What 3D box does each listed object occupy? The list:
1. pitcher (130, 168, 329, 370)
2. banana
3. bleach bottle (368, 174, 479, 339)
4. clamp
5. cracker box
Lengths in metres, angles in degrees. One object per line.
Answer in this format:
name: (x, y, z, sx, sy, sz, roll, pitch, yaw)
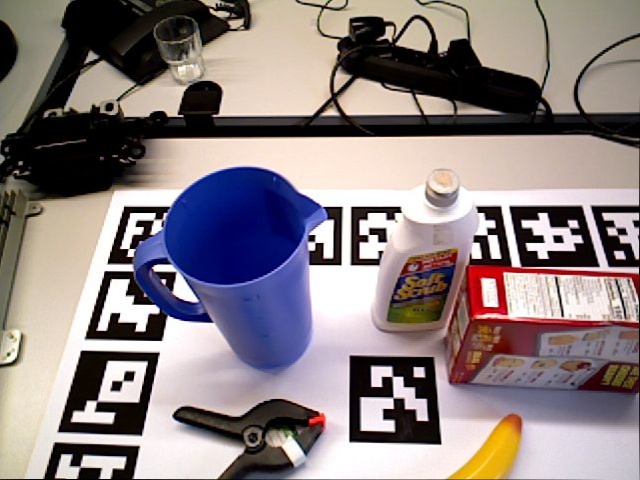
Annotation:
pitcher: (-0.081, 0.042, 0.563, 0.187, 0.247, 0.132, -14, 54, -10)
banana: (0.148, 0.248, 0.567, 0.194, 0.039, 0.074, -28, 57, -15)
bleach bottle: (0.107, 0.022, 0.588, 0.102, 0.255, 0.067, 0, 53, 3)
clamp: (-0.071, 0.223, 0.590, 0.164, 0.037, 0.120, -13, 54, -7)
cracker box: (0.259, 0.099, 0.558, 0.213, 0.167, 0.071, 1, 51, 6)
